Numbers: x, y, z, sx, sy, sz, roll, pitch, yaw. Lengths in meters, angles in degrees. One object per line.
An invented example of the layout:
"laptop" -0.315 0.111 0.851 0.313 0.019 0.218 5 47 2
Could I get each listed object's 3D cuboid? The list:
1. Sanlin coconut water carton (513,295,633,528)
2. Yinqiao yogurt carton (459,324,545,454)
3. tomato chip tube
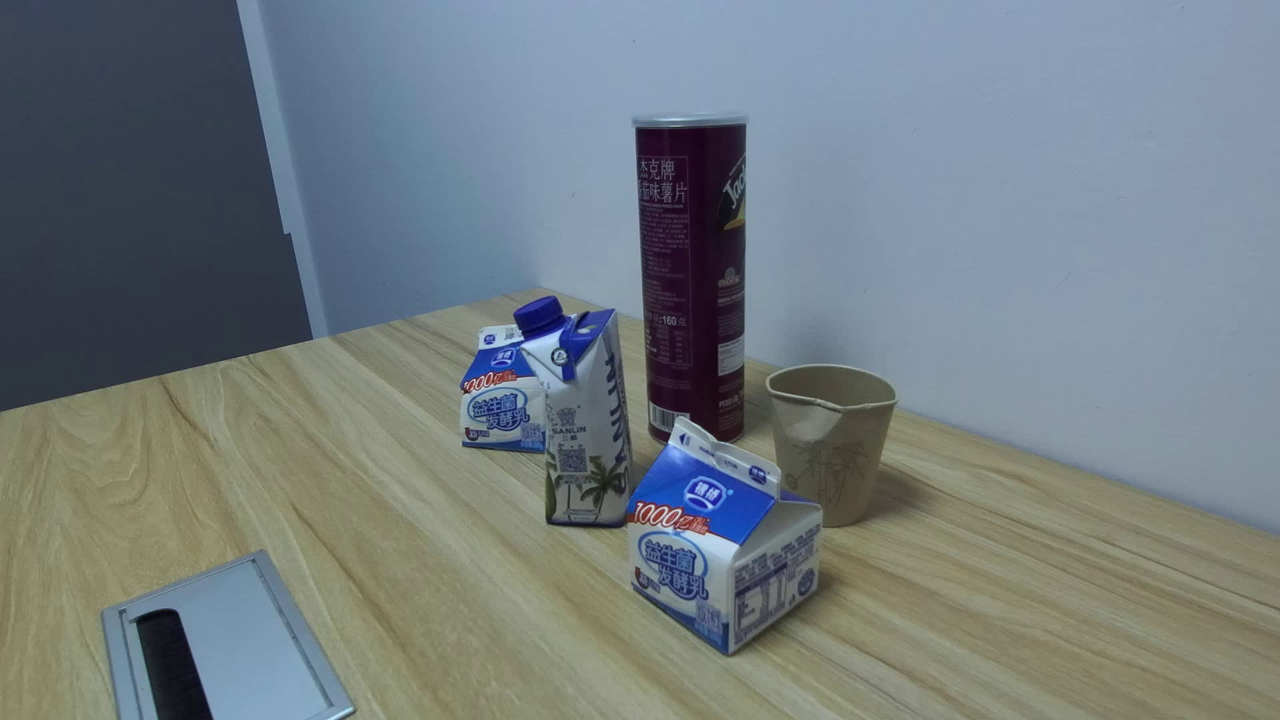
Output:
"Sanlin coconut water carton" -0.037 0.030 0.439 0.057 0.142 0.078 -4 21 11
"Yinqiao yogurt carton" -0.094 0.013 0.554 0.083 0.093 0.077 3 23 14
"tomato chip tube" 0.039 -0.053 0.515 0.078 0.234 0.078 -2 18 1
